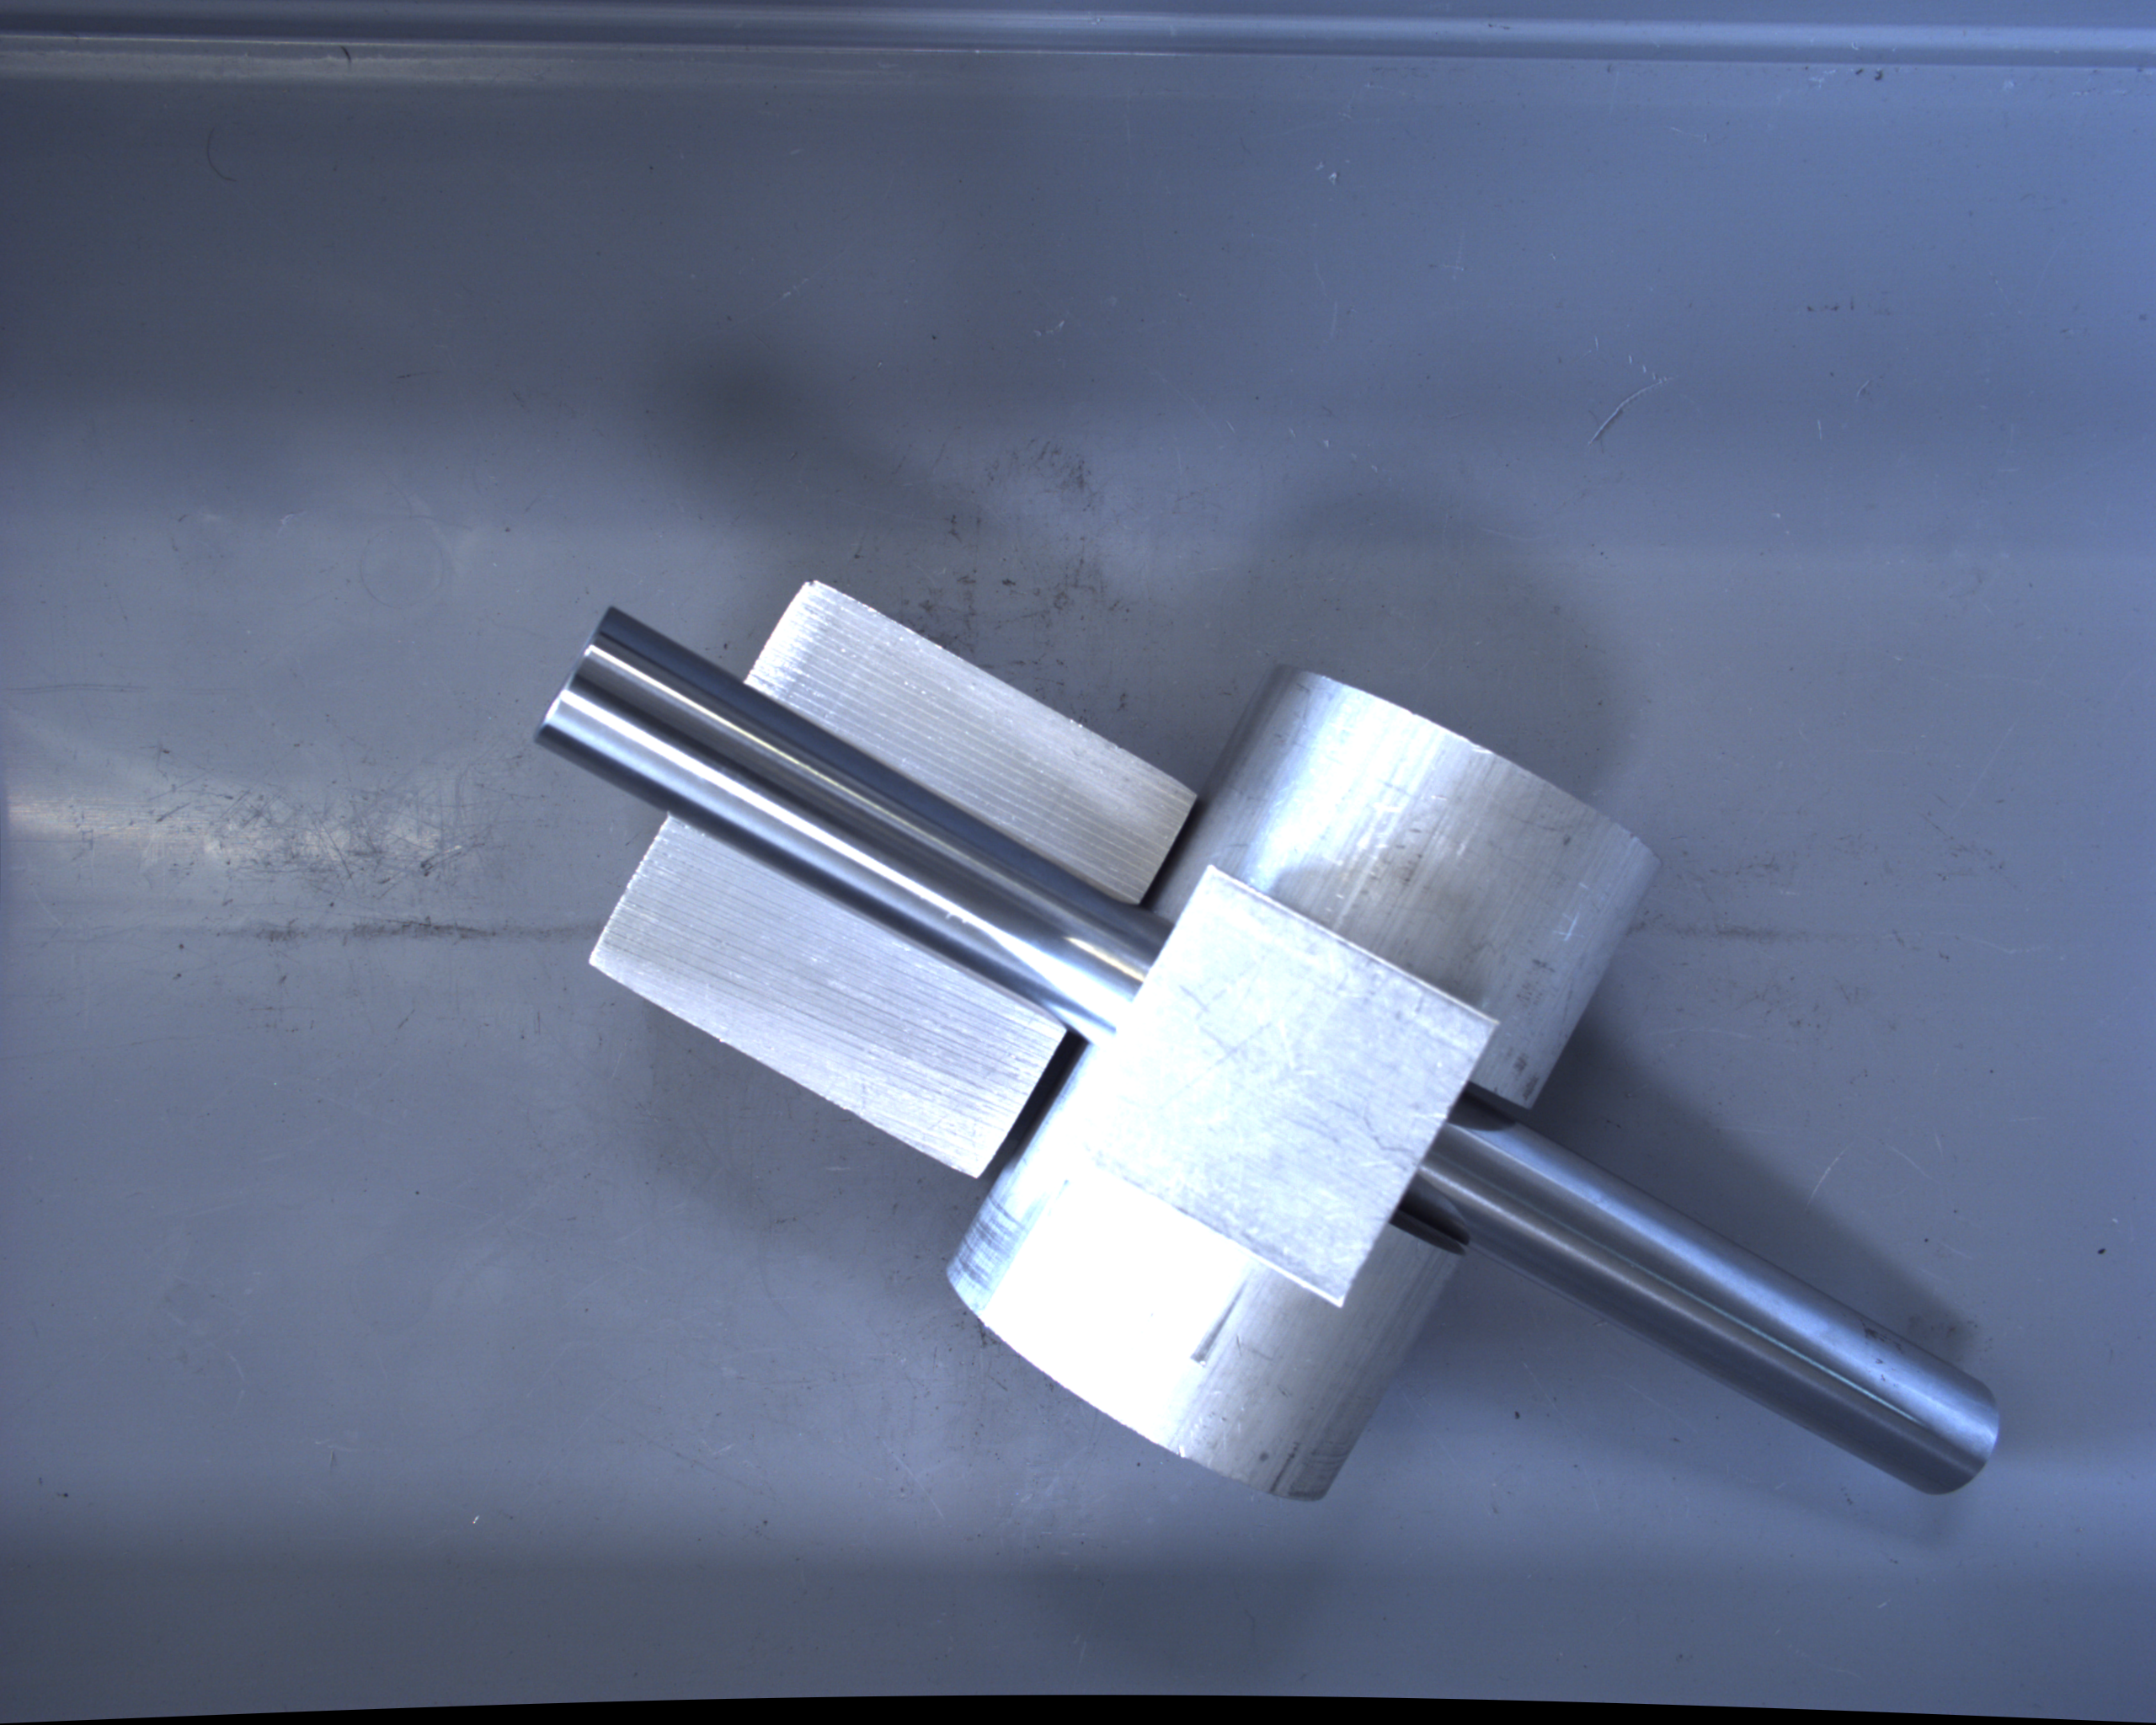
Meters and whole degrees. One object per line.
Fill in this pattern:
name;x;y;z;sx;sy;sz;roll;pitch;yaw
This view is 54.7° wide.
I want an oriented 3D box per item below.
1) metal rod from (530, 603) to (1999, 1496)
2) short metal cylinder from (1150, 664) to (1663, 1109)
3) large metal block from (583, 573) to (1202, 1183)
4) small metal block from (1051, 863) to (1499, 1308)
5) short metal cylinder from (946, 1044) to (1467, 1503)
metal rod;0.046;0.041;0.371;0.301;0.025;0.025;30;90;-16
short metal cylinder;0.059;0.004;0.383;0.080;0.080;0.050;28;90;0
large metal block;-0.033;0.003;0.395;0.080;0.050;0.080;29;90;0
small metal block;0.031;0.035;0.331;0.050;0.025;0.050;29;90;8
short metal cylinder;0.023;0.072;0.382;0.080;0.080;0.050;30;90;0
